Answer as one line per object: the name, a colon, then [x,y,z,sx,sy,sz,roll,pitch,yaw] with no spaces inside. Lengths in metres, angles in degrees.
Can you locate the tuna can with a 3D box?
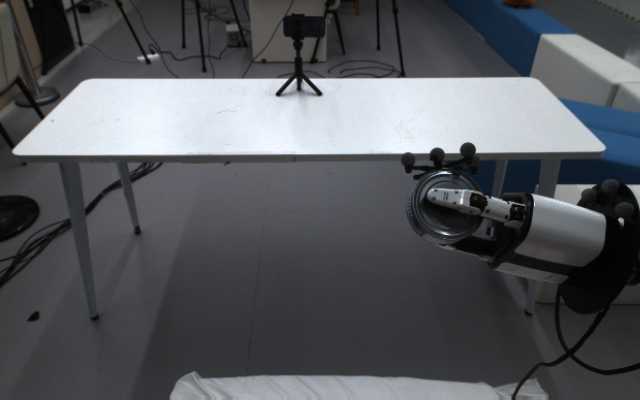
tuna can: [0.148,0.005,0.568,0.085,0.034,0.085,1,72,-4]
